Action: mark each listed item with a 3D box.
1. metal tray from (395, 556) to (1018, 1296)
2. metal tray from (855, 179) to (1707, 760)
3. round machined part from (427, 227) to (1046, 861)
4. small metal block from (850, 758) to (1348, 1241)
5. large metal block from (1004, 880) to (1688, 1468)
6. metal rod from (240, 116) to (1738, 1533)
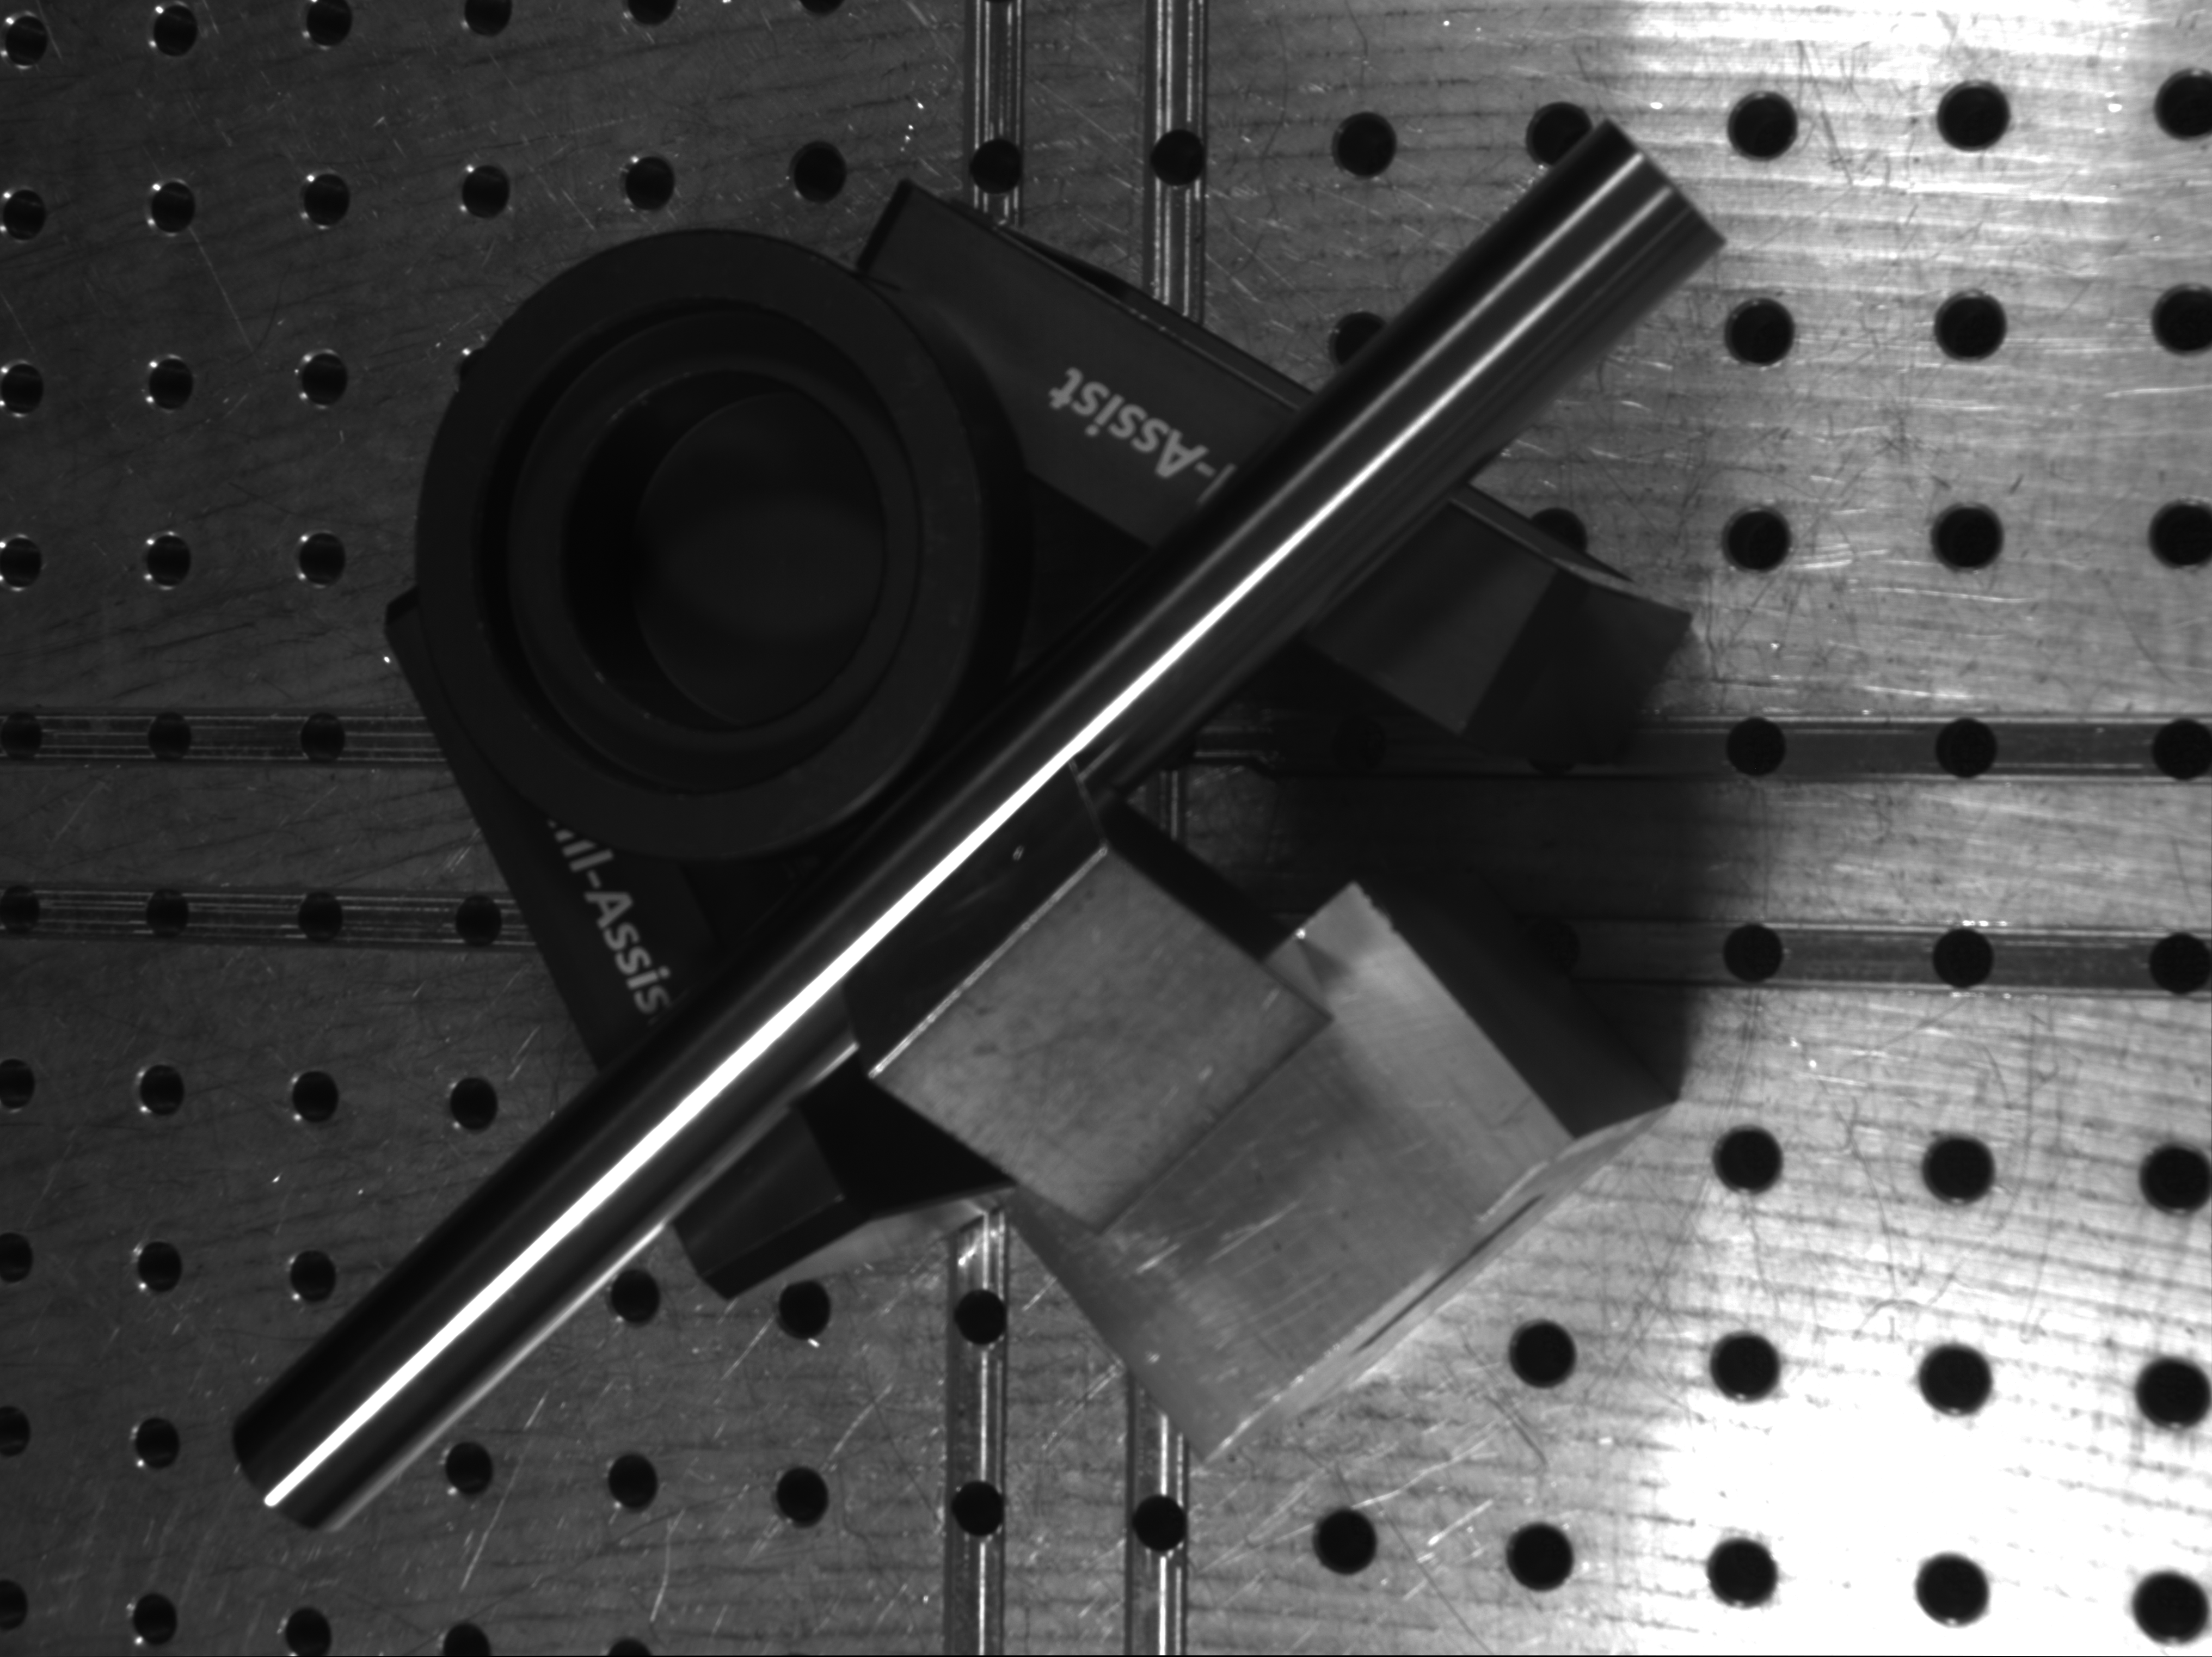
[{"bbox_3d":[-0.064,0.012,0.635,0.030,0.090,0.130,-30,80,17],"label":"metal tray"},{"bbox_3d":[0.028,-0.057,0.601,0.130,0.090,0.030,33,101,17],"label":"metal tray"},{"bbox_3d":[-0.055,-0.044,0.584,0.098,0.042,0.098,0,90,20],"label":"round machined part"},{"bbox_3d":[-0.001,0.026,0.547,0.050,0.050,0.025,-44,32,14],"label":"small metal block"},{"bbox_3d":[0.041,0.054,0.599,0.080,0.080,0.050,-43,76,15],"label":"large metal block"},{"bbox_3d":[-0.025,0.006,0.560,0.300,0.025,0.025,-43,77,15],"label":"metal rod"}]
